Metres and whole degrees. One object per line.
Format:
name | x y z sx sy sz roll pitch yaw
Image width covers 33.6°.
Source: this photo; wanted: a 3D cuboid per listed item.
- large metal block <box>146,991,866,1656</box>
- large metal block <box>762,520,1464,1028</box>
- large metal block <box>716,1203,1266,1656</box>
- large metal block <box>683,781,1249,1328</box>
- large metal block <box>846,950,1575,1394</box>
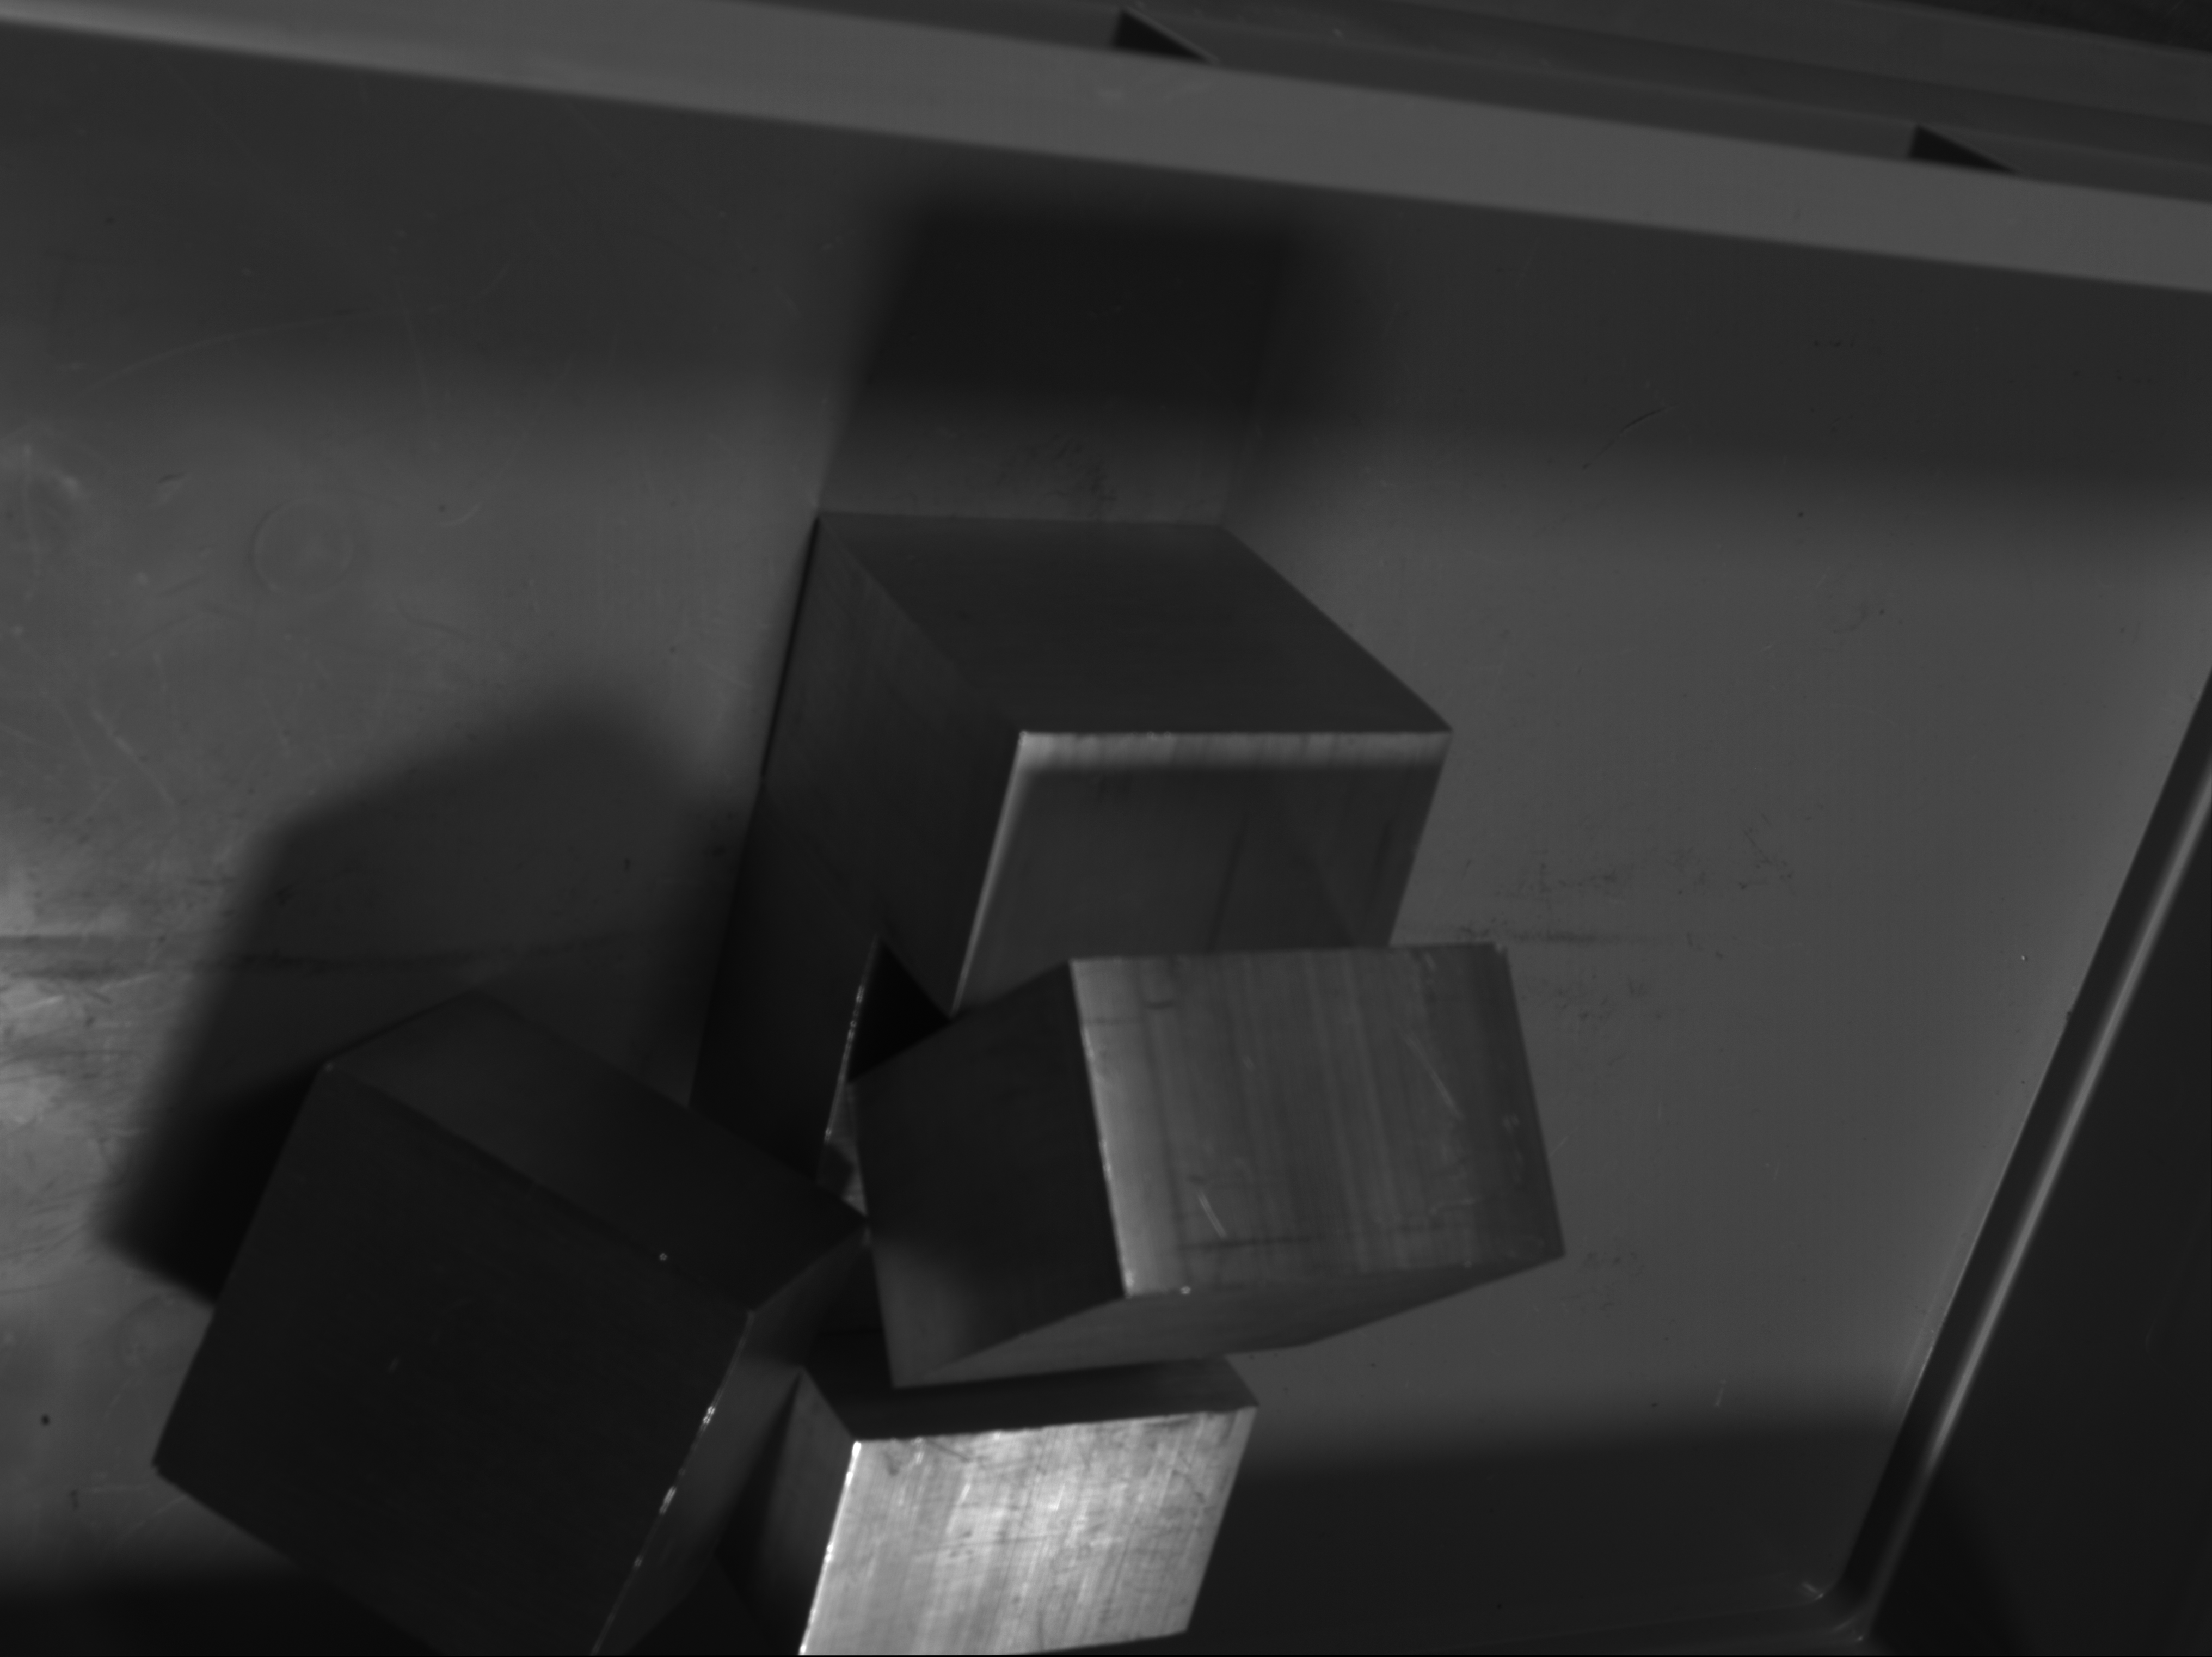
large metal block | -0.097 0.086 0.599 0.080 0.080 0.050 -64 170 17
large metal block | -0.001 -0.011 0.605 0.080 0.080 0.050 -1 119 -30
large metal block | -0.030 0.105 0.660 0.080 0.080 0.050 0 118 -30
large metal block | -0.024 0.038 0.645 0.080 0.050 0.080 -1 119 -30
large metal block | 0.015 0.055 0.582 0.080 0.050 0.080 -1 164 -30
